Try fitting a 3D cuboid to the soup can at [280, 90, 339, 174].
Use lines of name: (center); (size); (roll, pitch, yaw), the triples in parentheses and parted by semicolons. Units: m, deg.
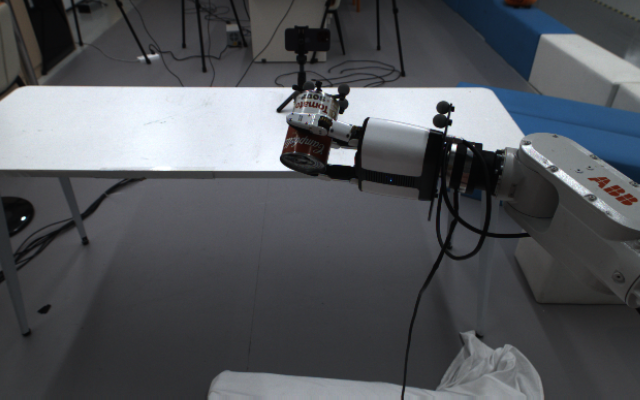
soup can: (-0.013, -0.098, 0.695); (0.067, 0.067, 0.101); (9, 72, 10)
